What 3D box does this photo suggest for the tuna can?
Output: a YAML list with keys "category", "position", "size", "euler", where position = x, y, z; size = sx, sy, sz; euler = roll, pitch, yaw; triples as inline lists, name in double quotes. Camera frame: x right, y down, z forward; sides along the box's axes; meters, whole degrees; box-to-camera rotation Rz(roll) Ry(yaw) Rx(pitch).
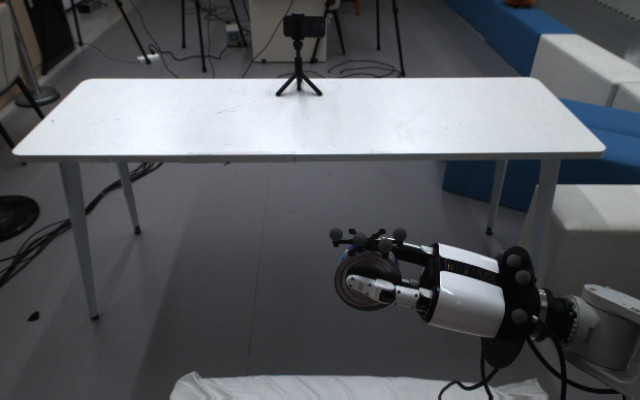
- category: "tuna can"
  position: [0.064, 0.098, 0.627]
  size: [0.085, 0.085, 0.034]
  euler: [4, 17, 3]
